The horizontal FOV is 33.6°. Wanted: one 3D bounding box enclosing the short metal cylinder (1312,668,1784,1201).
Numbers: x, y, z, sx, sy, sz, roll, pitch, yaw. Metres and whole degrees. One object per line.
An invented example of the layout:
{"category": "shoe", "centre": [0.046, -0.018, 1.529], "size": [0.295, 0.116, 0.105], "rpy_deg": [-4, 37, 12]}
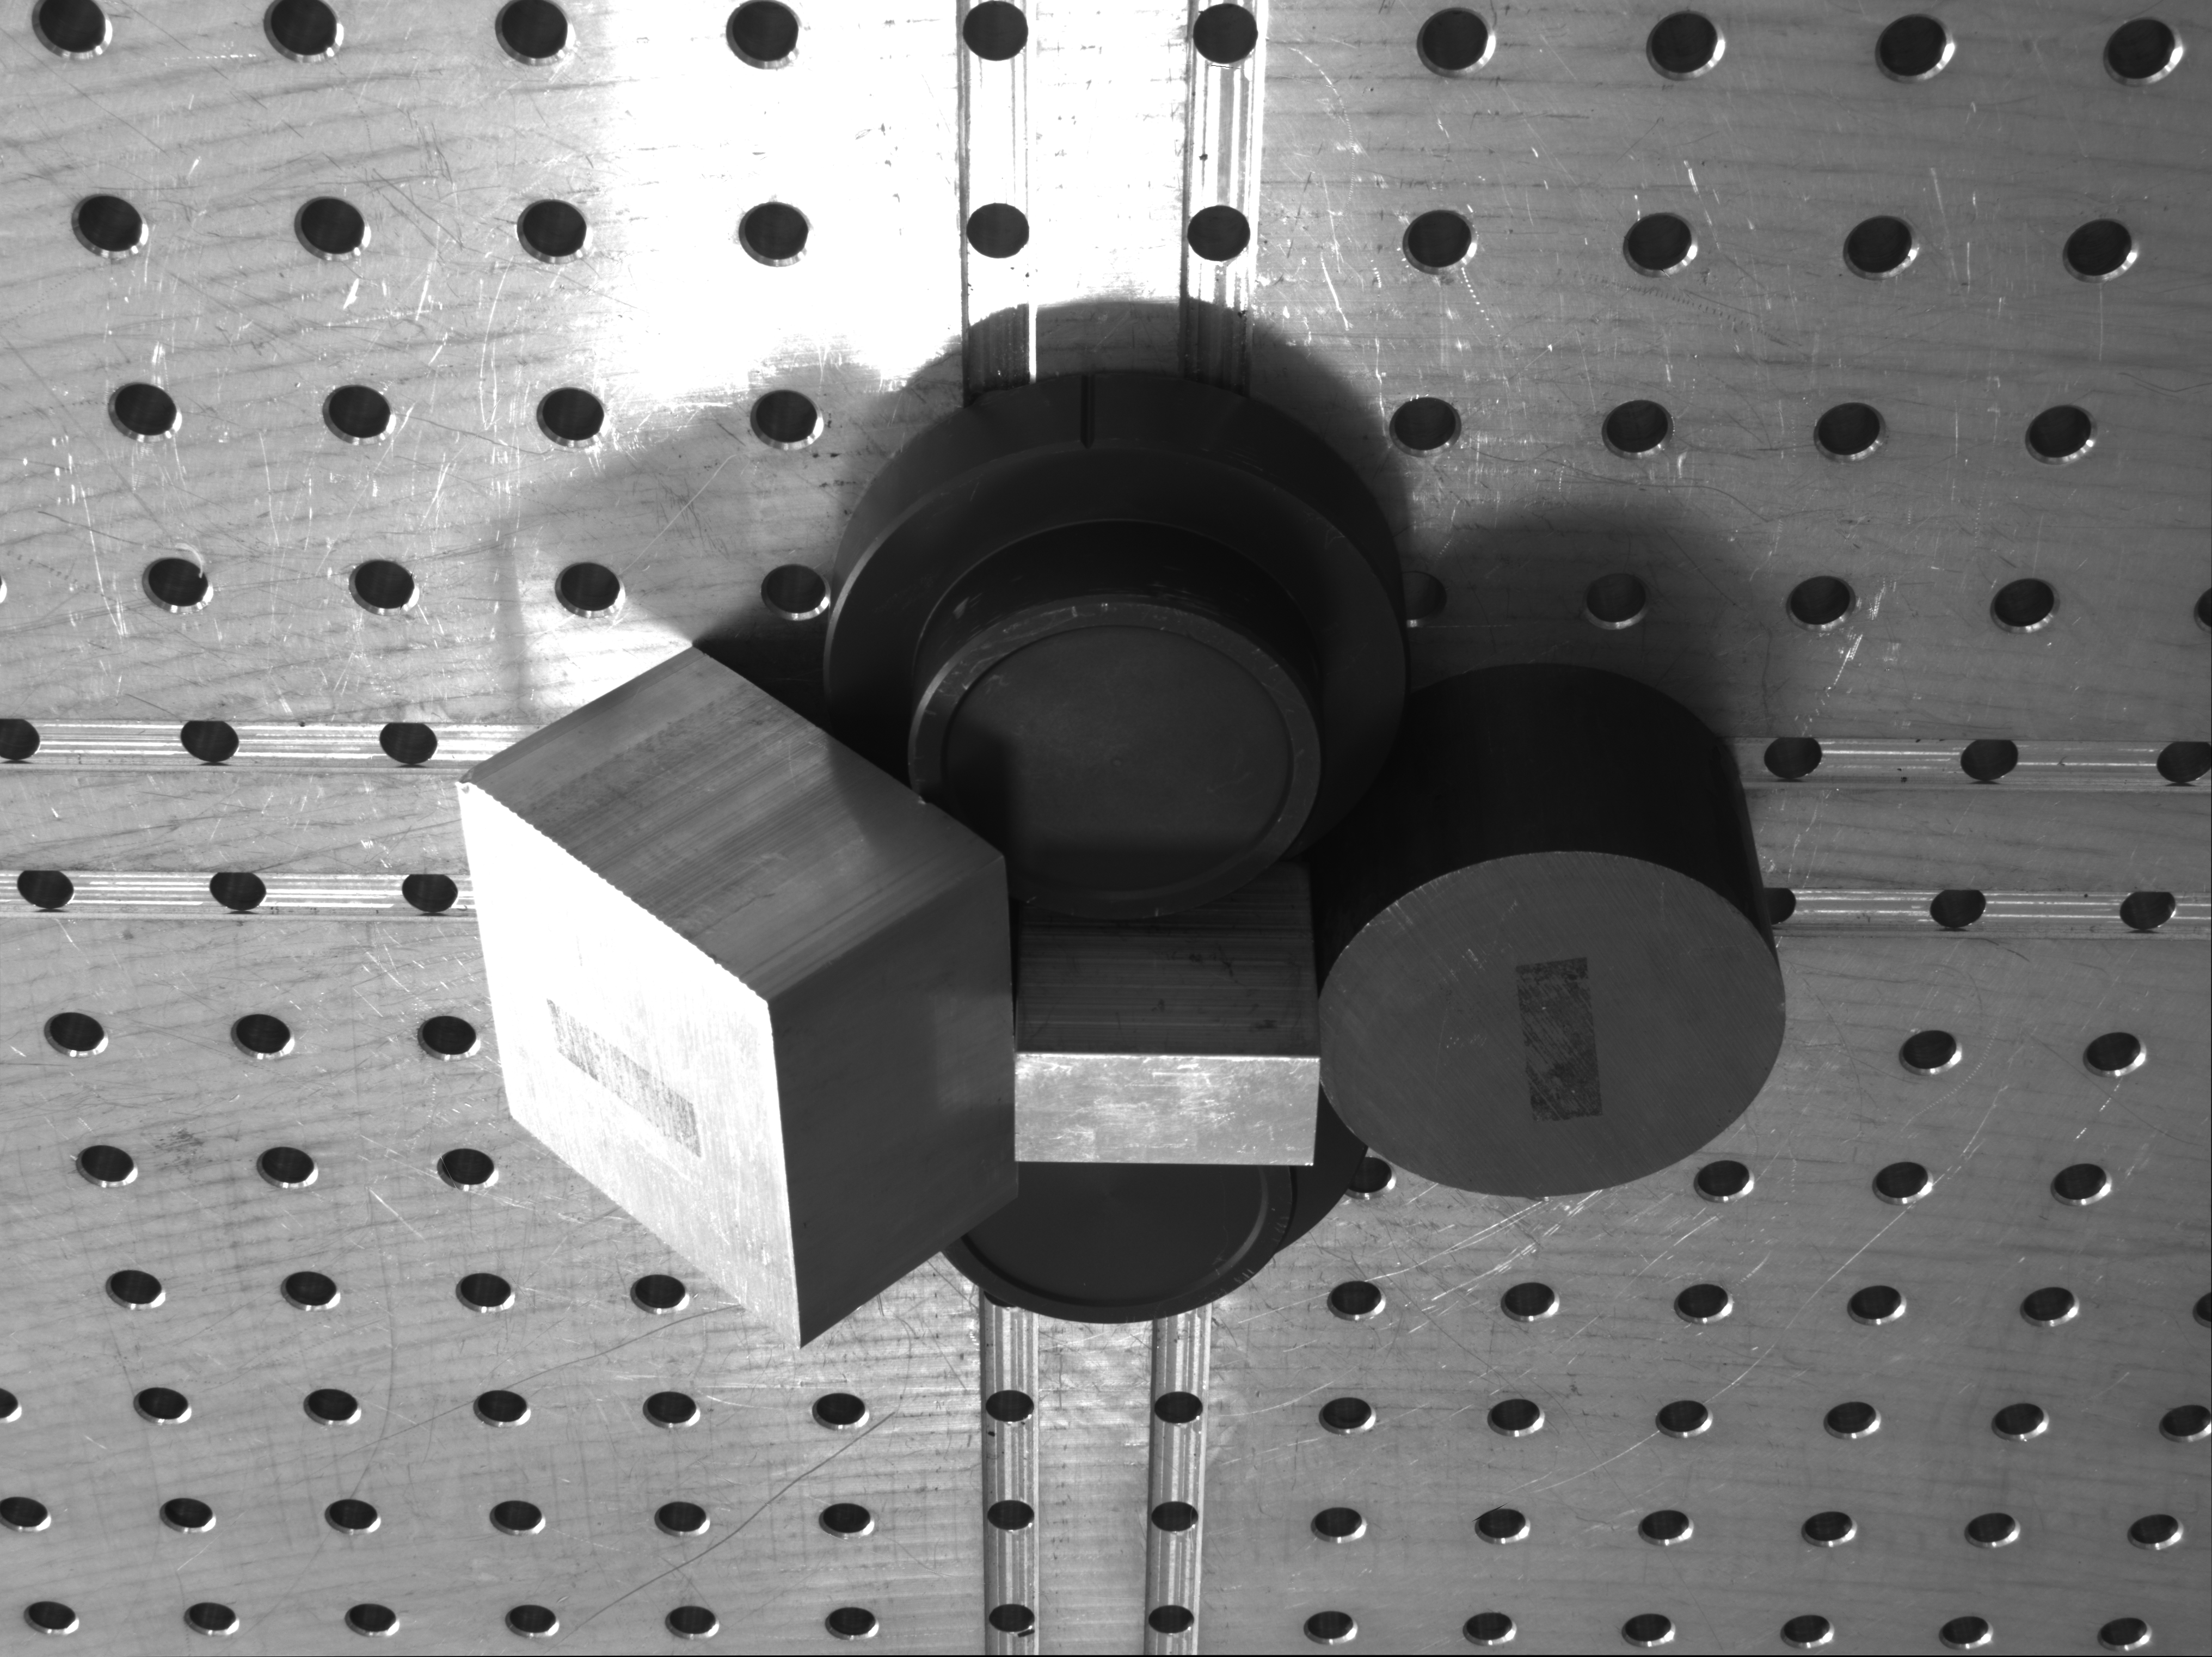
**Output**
{"category": "short metal cylinder", "centre": [0.075, 0.019, 0.641], "size": [0.080, 0.050, 0.080], "rpy_deg": [0, 130, 0]}

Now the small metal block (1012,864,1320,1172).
{"category": "small metal block", "centre": [0.010, 0.031, 0.623], "size": [0.050, 0.050, 0.025], "rpy_deg": [1, 130, -1]}

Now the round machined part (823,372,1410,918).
{"category": "round machined part", "centre": [0.002, -0.024, 0.611], "size": [0.098, 0.042, 0.098], "rpy_deg": [0, 130, 0]}

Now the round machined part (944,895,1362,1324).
{"category": "round machined part", "centre": [0.000, 0.053, 0.676], "size": [0.098, 0.042, 0.098], "rpy_deg": [0, 130, 0]}

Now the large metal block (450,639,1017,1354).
{"category": "large metal block", "centre": [-0.062, 0.028, 0.622], "size": [0.050, 0.080, 0.080], "rpy_deg": [-33, 139, -32]}
